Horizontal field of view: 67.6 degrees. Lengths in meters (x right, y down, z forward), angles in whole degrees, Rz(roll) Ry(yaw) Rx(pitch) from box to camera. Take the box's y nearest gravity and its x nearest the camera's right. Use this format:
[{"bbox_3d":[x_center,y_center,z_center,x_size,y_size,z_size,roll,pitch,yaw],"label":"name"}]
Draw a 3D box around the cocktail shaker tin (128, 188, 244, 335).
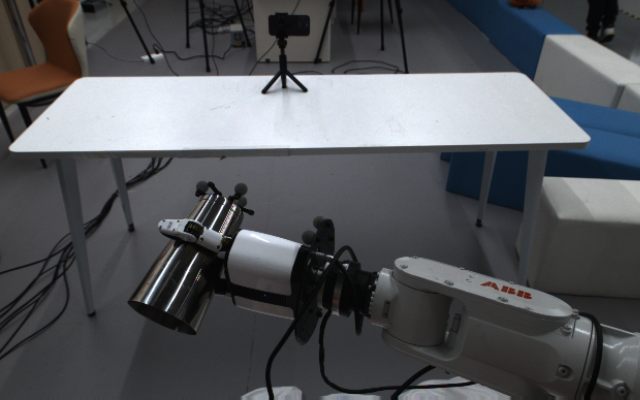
[{"bbox_3d":[-0.167,0.077,0.633,0.093,0.093,0.170,14,58,16],"label":"cocktail shaker tin"}]
